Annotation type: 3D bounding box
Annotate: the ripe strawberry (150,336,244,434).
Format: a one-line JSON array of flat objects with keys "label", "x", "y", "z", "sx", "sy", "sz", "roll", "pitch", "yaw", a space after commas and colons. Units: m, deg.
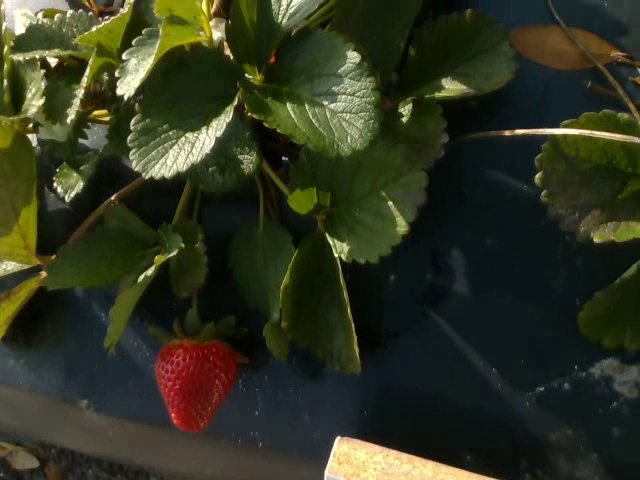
[{"label": "ripe strawberry", "x": -0.051, "y": 0.061, "z": 0.275, "sx": 0.041, "sy": 0.047, "sz": 0.041, "roll": -5, "pitch": -18, "yaw": 41}]
